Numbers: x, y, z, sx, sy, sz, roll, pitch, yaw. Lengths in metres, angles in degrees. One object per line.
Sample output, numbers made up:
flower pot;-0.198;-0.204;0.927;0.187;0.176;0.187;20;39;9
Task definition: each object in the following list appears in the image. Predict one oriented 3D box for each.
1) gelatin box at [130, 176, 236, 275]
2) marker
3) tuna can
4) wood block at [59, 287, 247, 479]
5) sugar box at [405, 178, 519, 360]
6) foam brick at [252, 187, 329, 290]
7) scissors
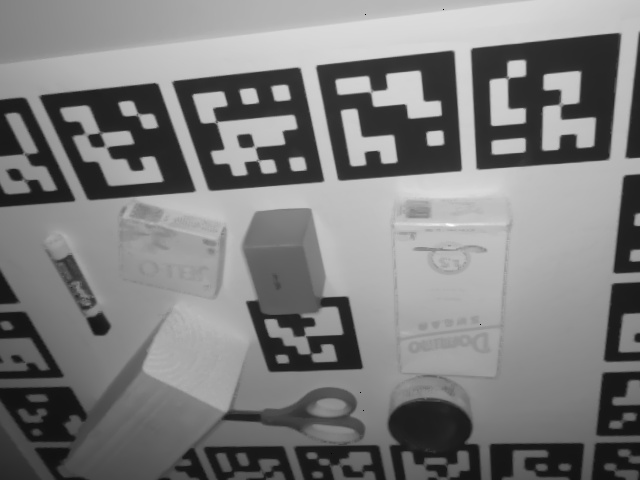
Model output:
gelatin box;-0.126;-0.012;0.634;0.089;0.030;0.072;12;123;-1
marker;-0.227;0.025;0.676;0.019;0.020;0.120;-2;120;10
tuna can;0.122;0.171;0.715;0.085;0.034;0.085;3;122;6
wood block;-0.174;0.152;0.714;0.090;0.092;0.203;34;122;-15
sugar box;0.123;0.029;0.621;0.092;0.046;0.175;1;123;8
foam brick;-0.024;-0.002;0.610;0.052;0.052;0.077;-2;122;9
scissors;-0.045;0.180;0.757;0.203;0.016;0.087;2;123;3
